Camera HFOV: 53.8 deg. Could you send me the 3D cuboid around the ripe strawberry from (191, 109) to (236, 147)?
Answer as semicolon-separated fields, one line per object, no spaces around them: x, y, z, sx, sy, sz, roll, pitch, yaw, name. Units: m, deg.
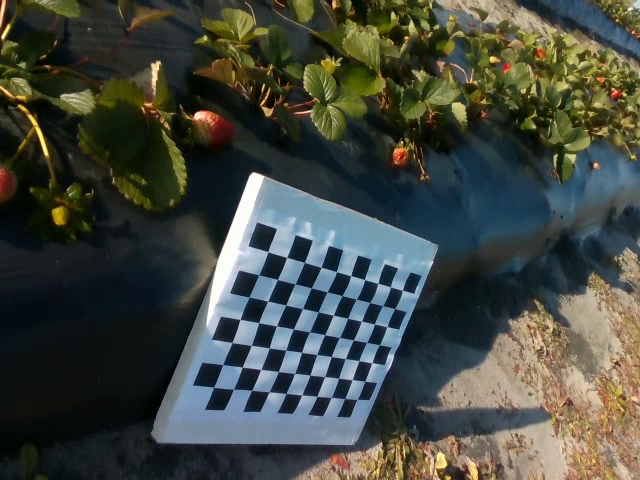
-0.114;-0.123;0.676;0.063;0.045;0.043;-5;20;-43;ripe strawberry
